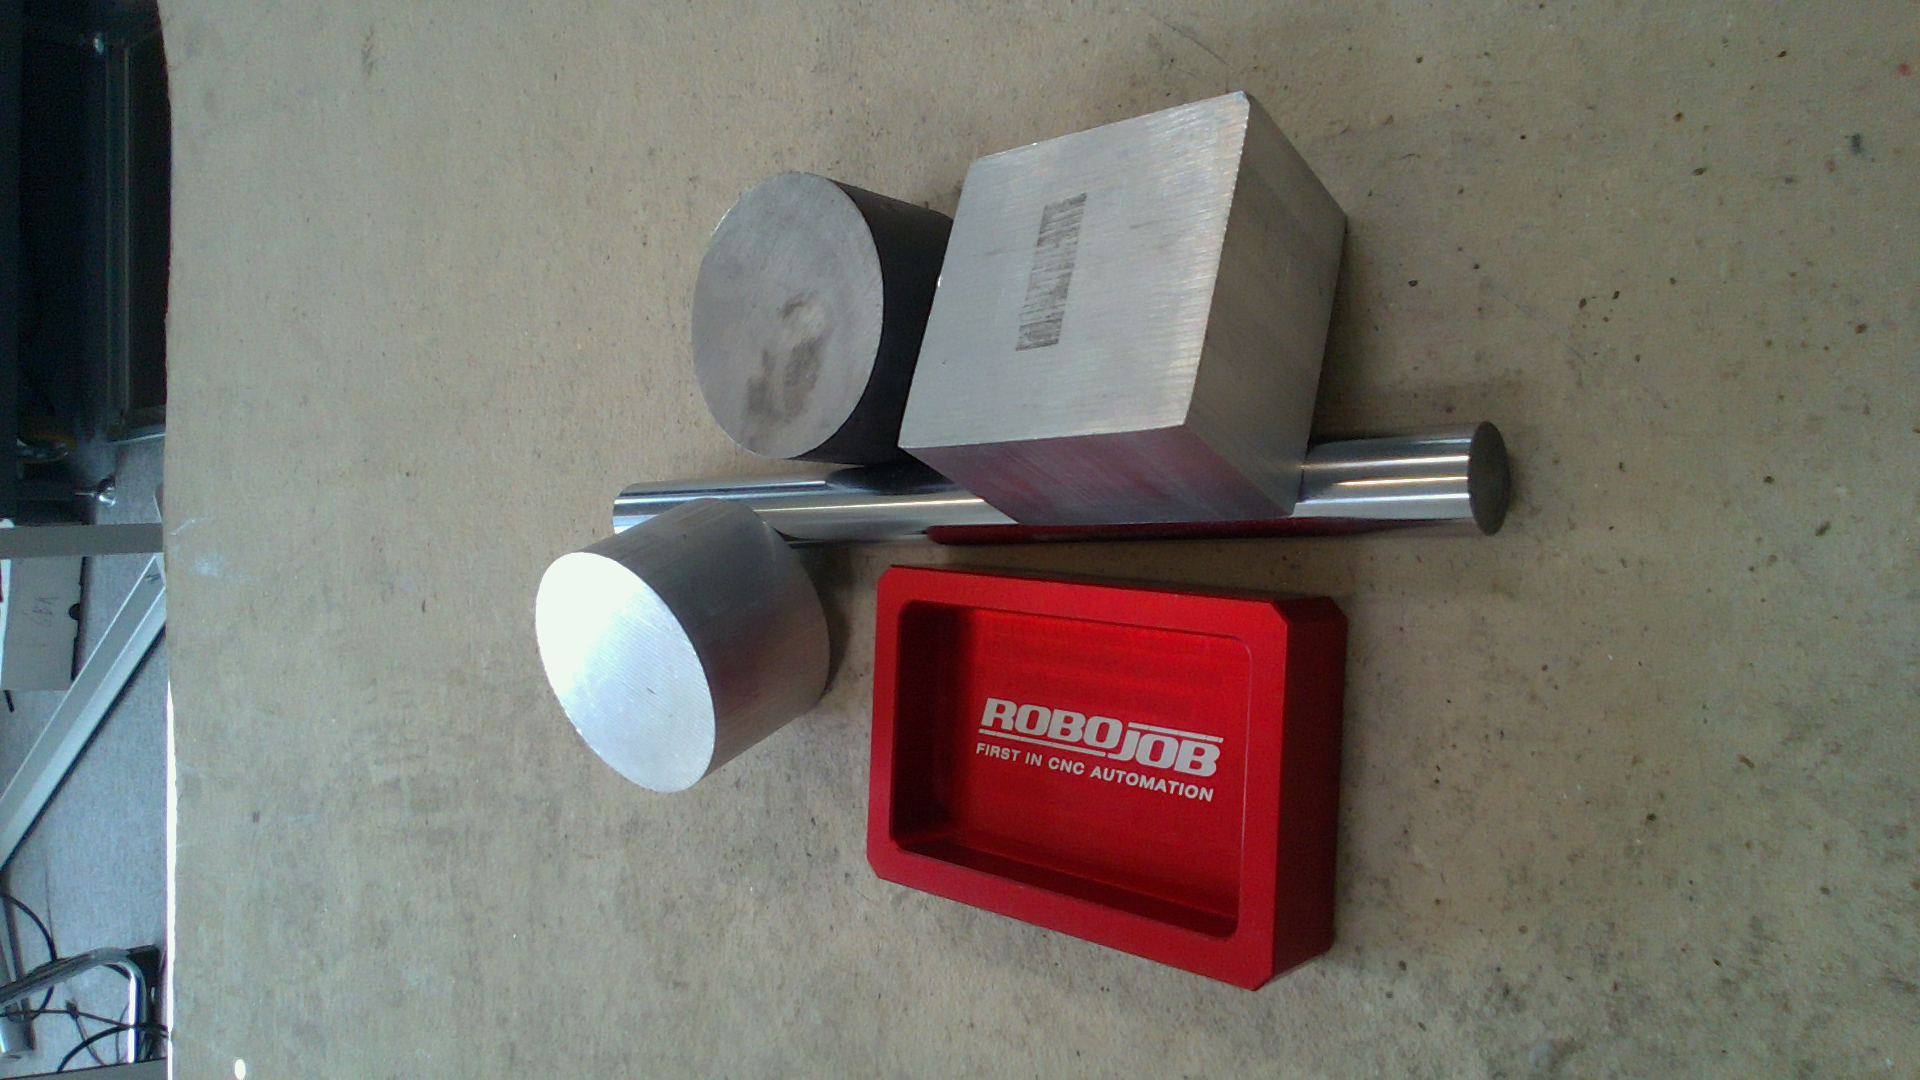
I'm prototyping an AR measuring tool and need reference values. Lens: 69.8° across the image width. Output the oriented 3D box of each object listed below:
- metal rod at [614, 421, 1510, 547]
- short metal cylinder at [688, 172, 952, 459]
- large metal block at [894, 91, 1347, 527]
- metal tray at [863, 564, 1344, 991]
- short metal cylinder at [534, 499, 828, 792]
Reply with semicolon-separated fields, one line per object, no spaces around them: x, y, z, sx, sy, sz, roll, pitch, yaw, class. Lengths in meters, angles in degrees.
0.001;-0.011;0.395;0.299;0.025;0.025;-1;89;40;metal rod
-0.035;-0.063;0.408;0.080;0.050;0.080;-1;89;40;short metal cylinder
0.039;-0.050;0.329;0.080;0.050;0.080;-1;68;40;large metal block
0.032;0.055;0.364;0.129;0.030;0.090;4;93;40;metal tray
-0.089;0.032;0.437;0.080;0.050;0.080;18;121;32;short metal cylinder
